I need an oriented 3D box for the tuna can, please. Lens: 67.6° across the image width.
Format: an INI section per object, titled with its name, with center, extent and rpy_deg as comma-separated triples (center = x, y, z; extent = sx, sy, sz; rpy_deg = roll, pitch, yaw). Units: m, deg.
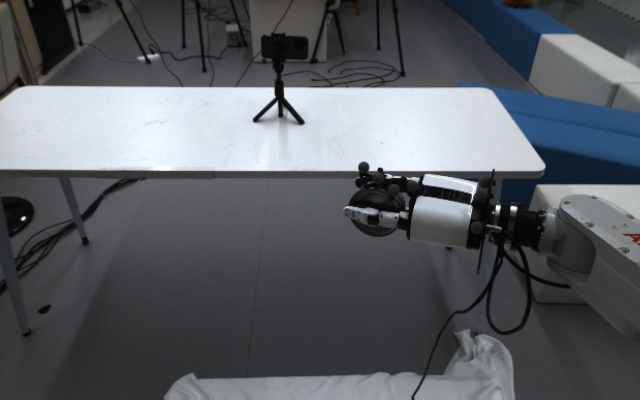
[tuna can]
center = 0.093, 0.012, 0.765
extent = 0.085, 0.085, 0.034
rpy_deg = 16, 28, 19
